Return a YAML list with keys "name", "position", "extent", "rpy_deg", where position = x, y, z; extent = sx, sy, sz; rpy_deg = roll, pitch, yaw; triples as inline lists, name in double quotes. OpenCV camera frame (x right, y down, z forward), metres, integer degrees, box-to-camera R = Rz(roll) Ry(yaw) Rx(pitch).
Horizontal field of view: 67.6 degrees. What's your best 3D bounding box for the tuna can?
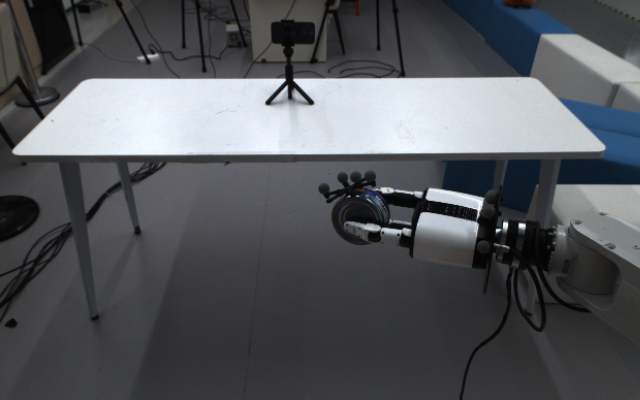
- name: "tuna can"
  position: [0.066, 0.032, 0.739]
  extent: [0.085, 0.085, 0.034]
  rpy_deg: [15, 30, 18]
